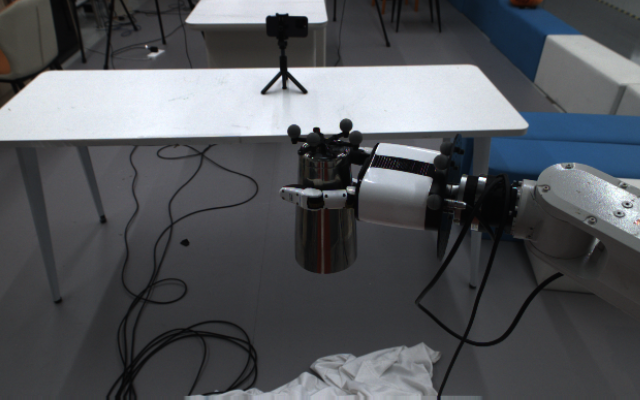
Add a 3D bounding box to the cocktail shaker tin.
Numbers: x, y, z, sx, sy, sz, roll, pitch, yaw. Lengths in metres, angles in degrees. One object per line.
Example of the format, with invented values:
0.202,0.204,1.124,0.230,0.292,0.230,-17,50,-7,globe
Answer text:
0.011,0.004,0.664,0.093,0.170,0.093,-1,32,1,cocktail shaker tin
